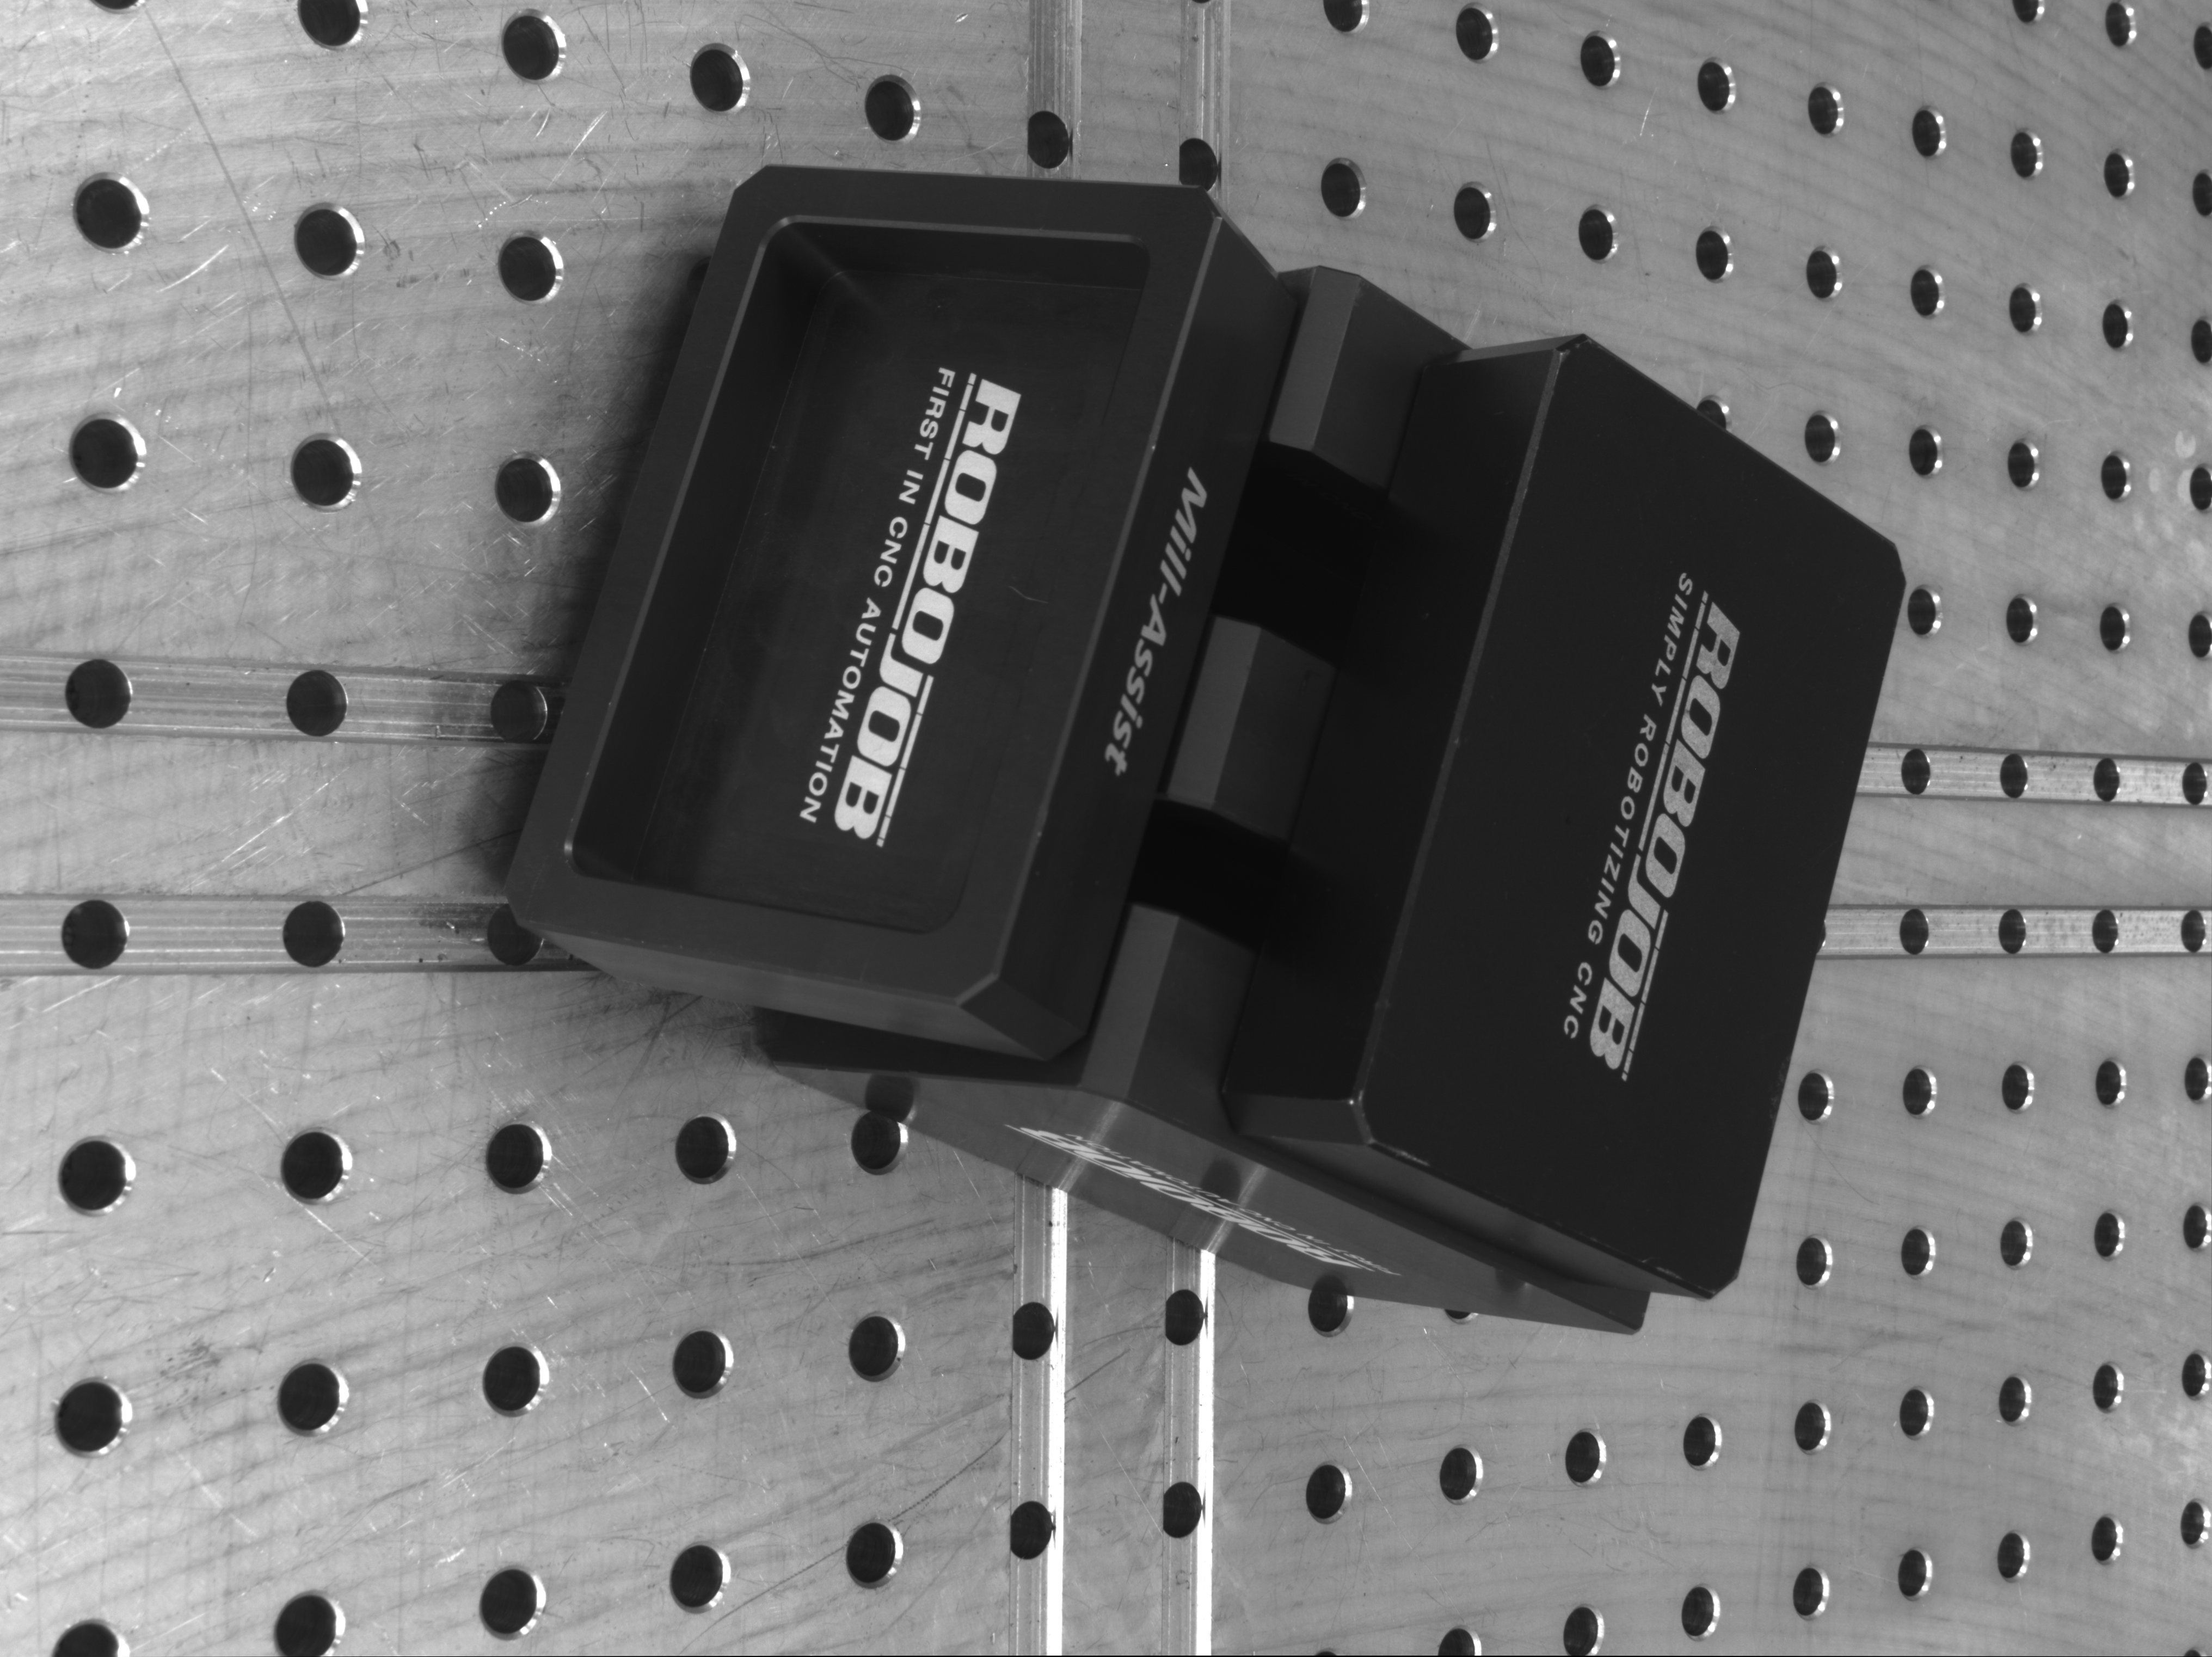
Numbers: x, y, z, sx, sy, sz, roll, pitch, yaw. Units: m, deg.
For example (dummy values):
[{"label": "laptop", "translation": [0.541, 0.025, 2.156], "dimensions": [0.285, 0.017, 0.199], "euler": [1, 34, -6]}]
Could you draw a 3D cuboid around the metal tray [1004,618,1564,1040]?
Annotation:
[{"label": "metal tray", "translation": [0.035, 0.005, 0.625], "dimensions": [0.130, 0.090, 0.030], "euler": [26, 73, -38]}]

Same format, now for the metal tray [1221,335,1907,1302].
[{"label": "metal tray", "translation": [0.075, 0.000, 0.581], "dimensions": [0.090, 0.030, 0.130], "euler": [26, 74, -36]}]

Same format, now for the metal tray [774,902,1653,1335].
[{"label": "metal tray", "translation": [0.021, 0.048, 0.614], "dimensions": [0.130, 0.090, 0.030], "euler": [27, 73, -37]}]

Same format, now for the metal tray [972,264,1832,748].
[{"label": "metal tray", "translation": [0.051, -0.051, 0.638], "dimensions": [0.130, 0.090, 0.030], "euler": [26, 74, -36]}]

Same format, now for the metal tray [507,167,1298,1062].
[{"label": "metal tray", "translation": [-0.031, -0.036, 0.568], "dimensions": [0.030, 0.090, 0.130], "euler": [38, 65, -57]}]
